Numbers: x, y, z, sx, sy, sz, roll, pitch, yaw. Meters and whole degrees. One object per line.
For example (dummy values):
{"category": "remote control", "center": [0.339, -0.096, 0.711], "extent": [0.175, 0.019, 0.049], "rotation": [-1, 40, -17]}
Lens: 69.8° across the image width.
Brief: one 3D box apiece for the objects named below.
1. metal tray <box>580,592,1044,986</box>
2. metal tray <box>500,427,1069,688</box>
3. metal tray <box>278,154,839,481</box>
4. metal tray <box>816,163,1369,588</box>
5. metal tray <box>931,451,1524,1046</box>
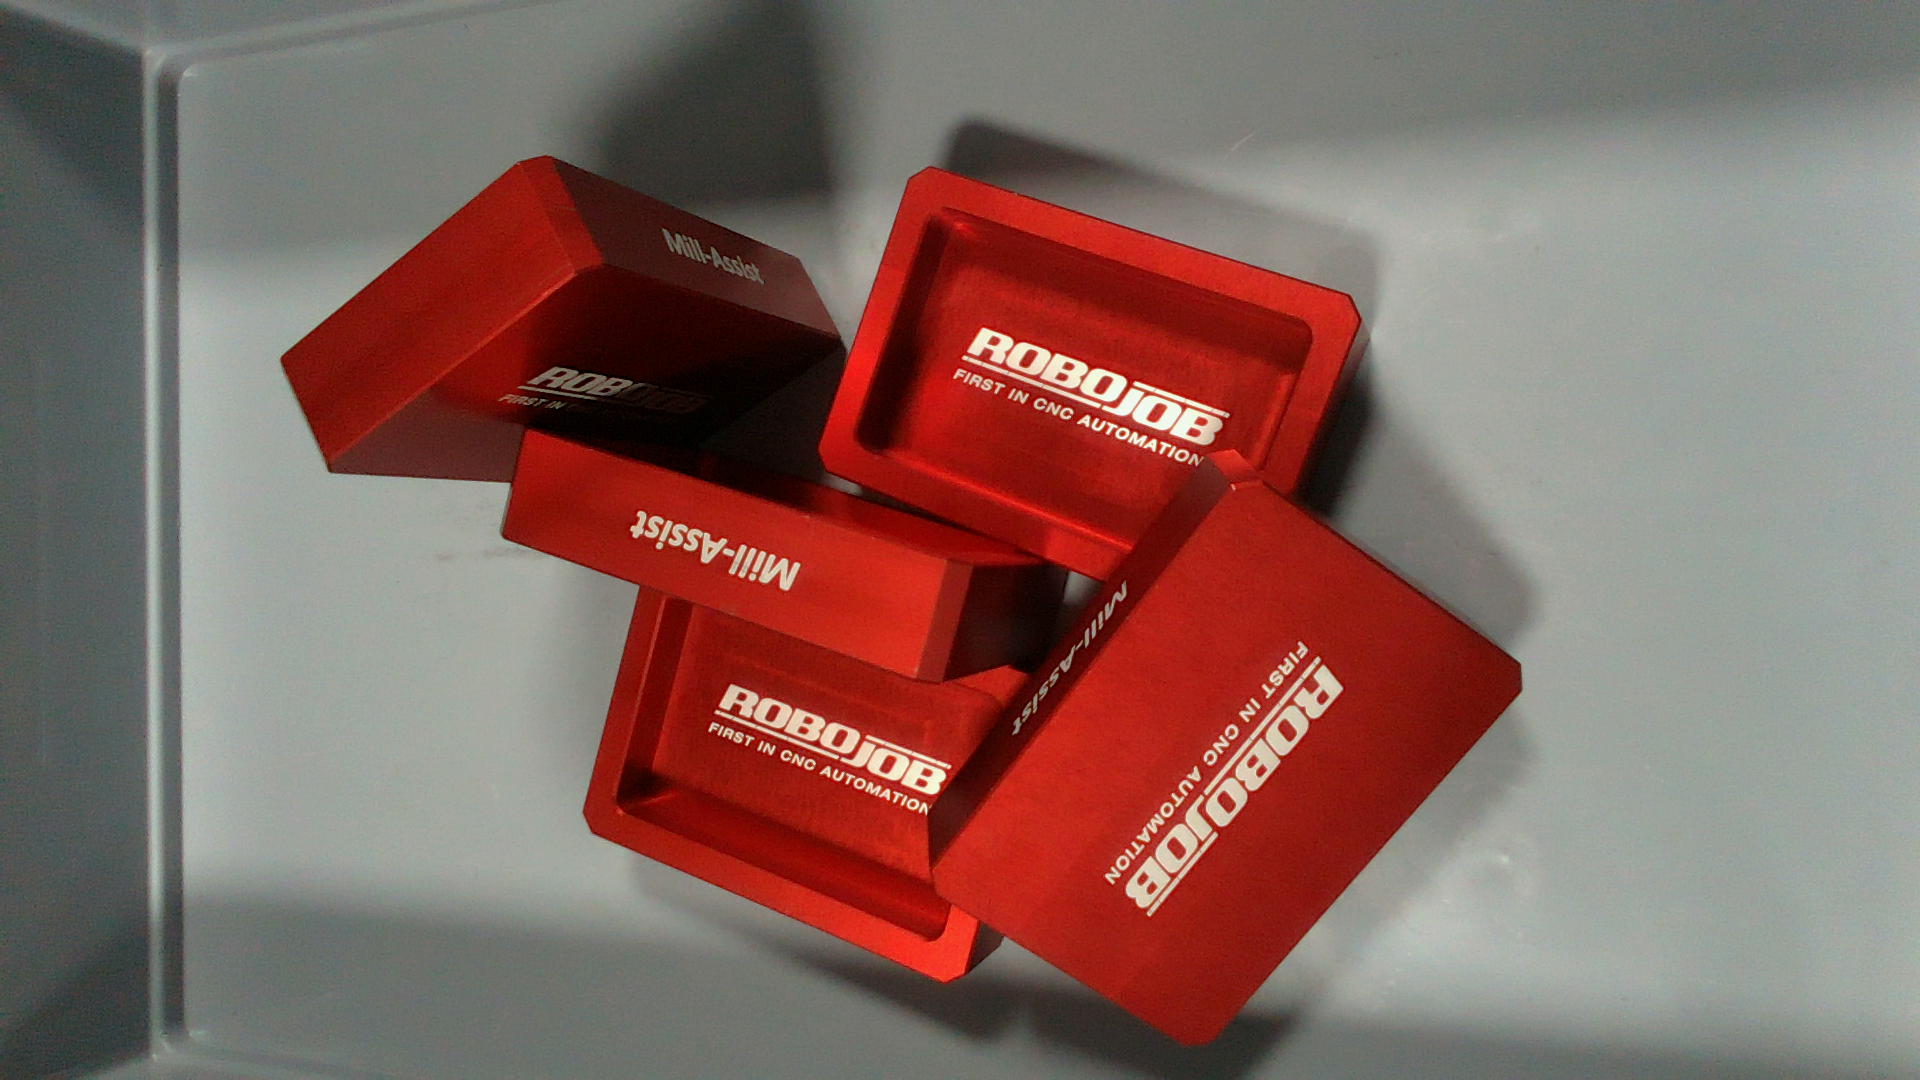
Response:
{"category": "metal tray", "center": [-0.042, 0.063, 0.406], "extent": [0.130, 0.030, 0.090], "rotation": [17, 96, 19]}
{"category": "metal tray", "center": [-0.045, 0.002, 0.375], "extent": [0.130, 0.090, 0.030], "rotation": [17, 96, 19]}
{"category": "metal tray", "center": [-0.100, -0.052, 0.374], "extent": [0.090, 0.130, 0.030], "rotation": [-32, 80, 18]}
{"category": "metal tray", "center": [0.034, -0.041, 0.379], "extent": [0.130, 0.030, 0.090], "rotation": [22, 97, 18]}
{"category": "metal tray", "center": [0.064, 0.054, 0.348], "extent": [0.090, 0.030, 0.130], "rotation": [34, 103, -12]}
